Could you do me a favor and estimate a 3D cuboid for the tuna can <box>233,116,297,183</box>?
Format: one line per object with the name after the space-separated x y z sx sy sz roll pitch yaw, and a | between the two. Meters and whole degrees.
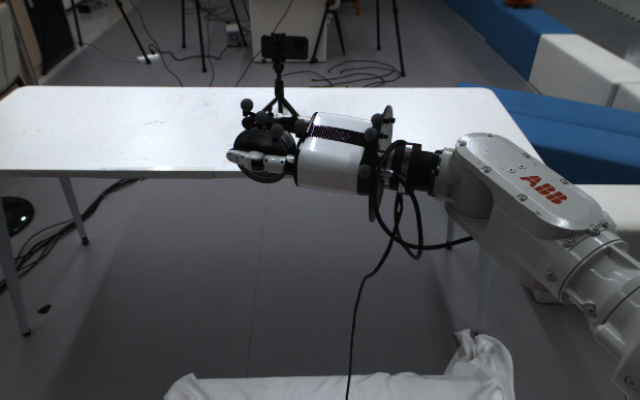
-0.076 -0.070 0.685 0.085 0.085 0.034 12 33 14 | tuna can
